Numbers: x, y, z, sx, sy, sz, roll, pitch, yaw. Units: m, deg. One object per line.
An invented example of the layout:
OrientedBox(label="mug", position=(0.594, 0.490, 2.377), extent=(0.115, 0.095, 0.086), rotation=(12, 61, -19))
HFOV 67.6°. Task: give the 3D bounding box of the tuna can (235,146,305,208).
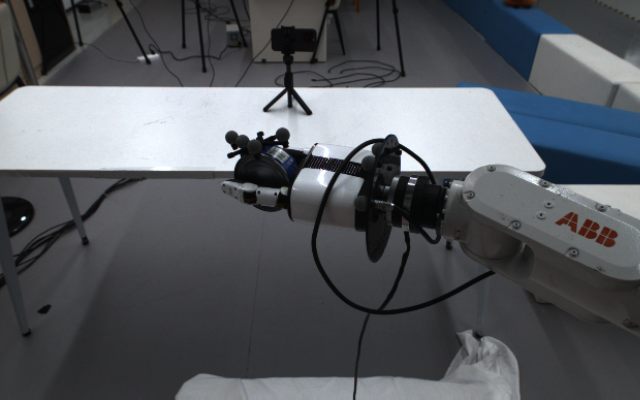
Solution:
OrientedBox(label="tuna can", position=(-0.066, -0.030, 0.638), extent=(0.085, 0.085, 0.034), rotation=(17, 36, 20))
